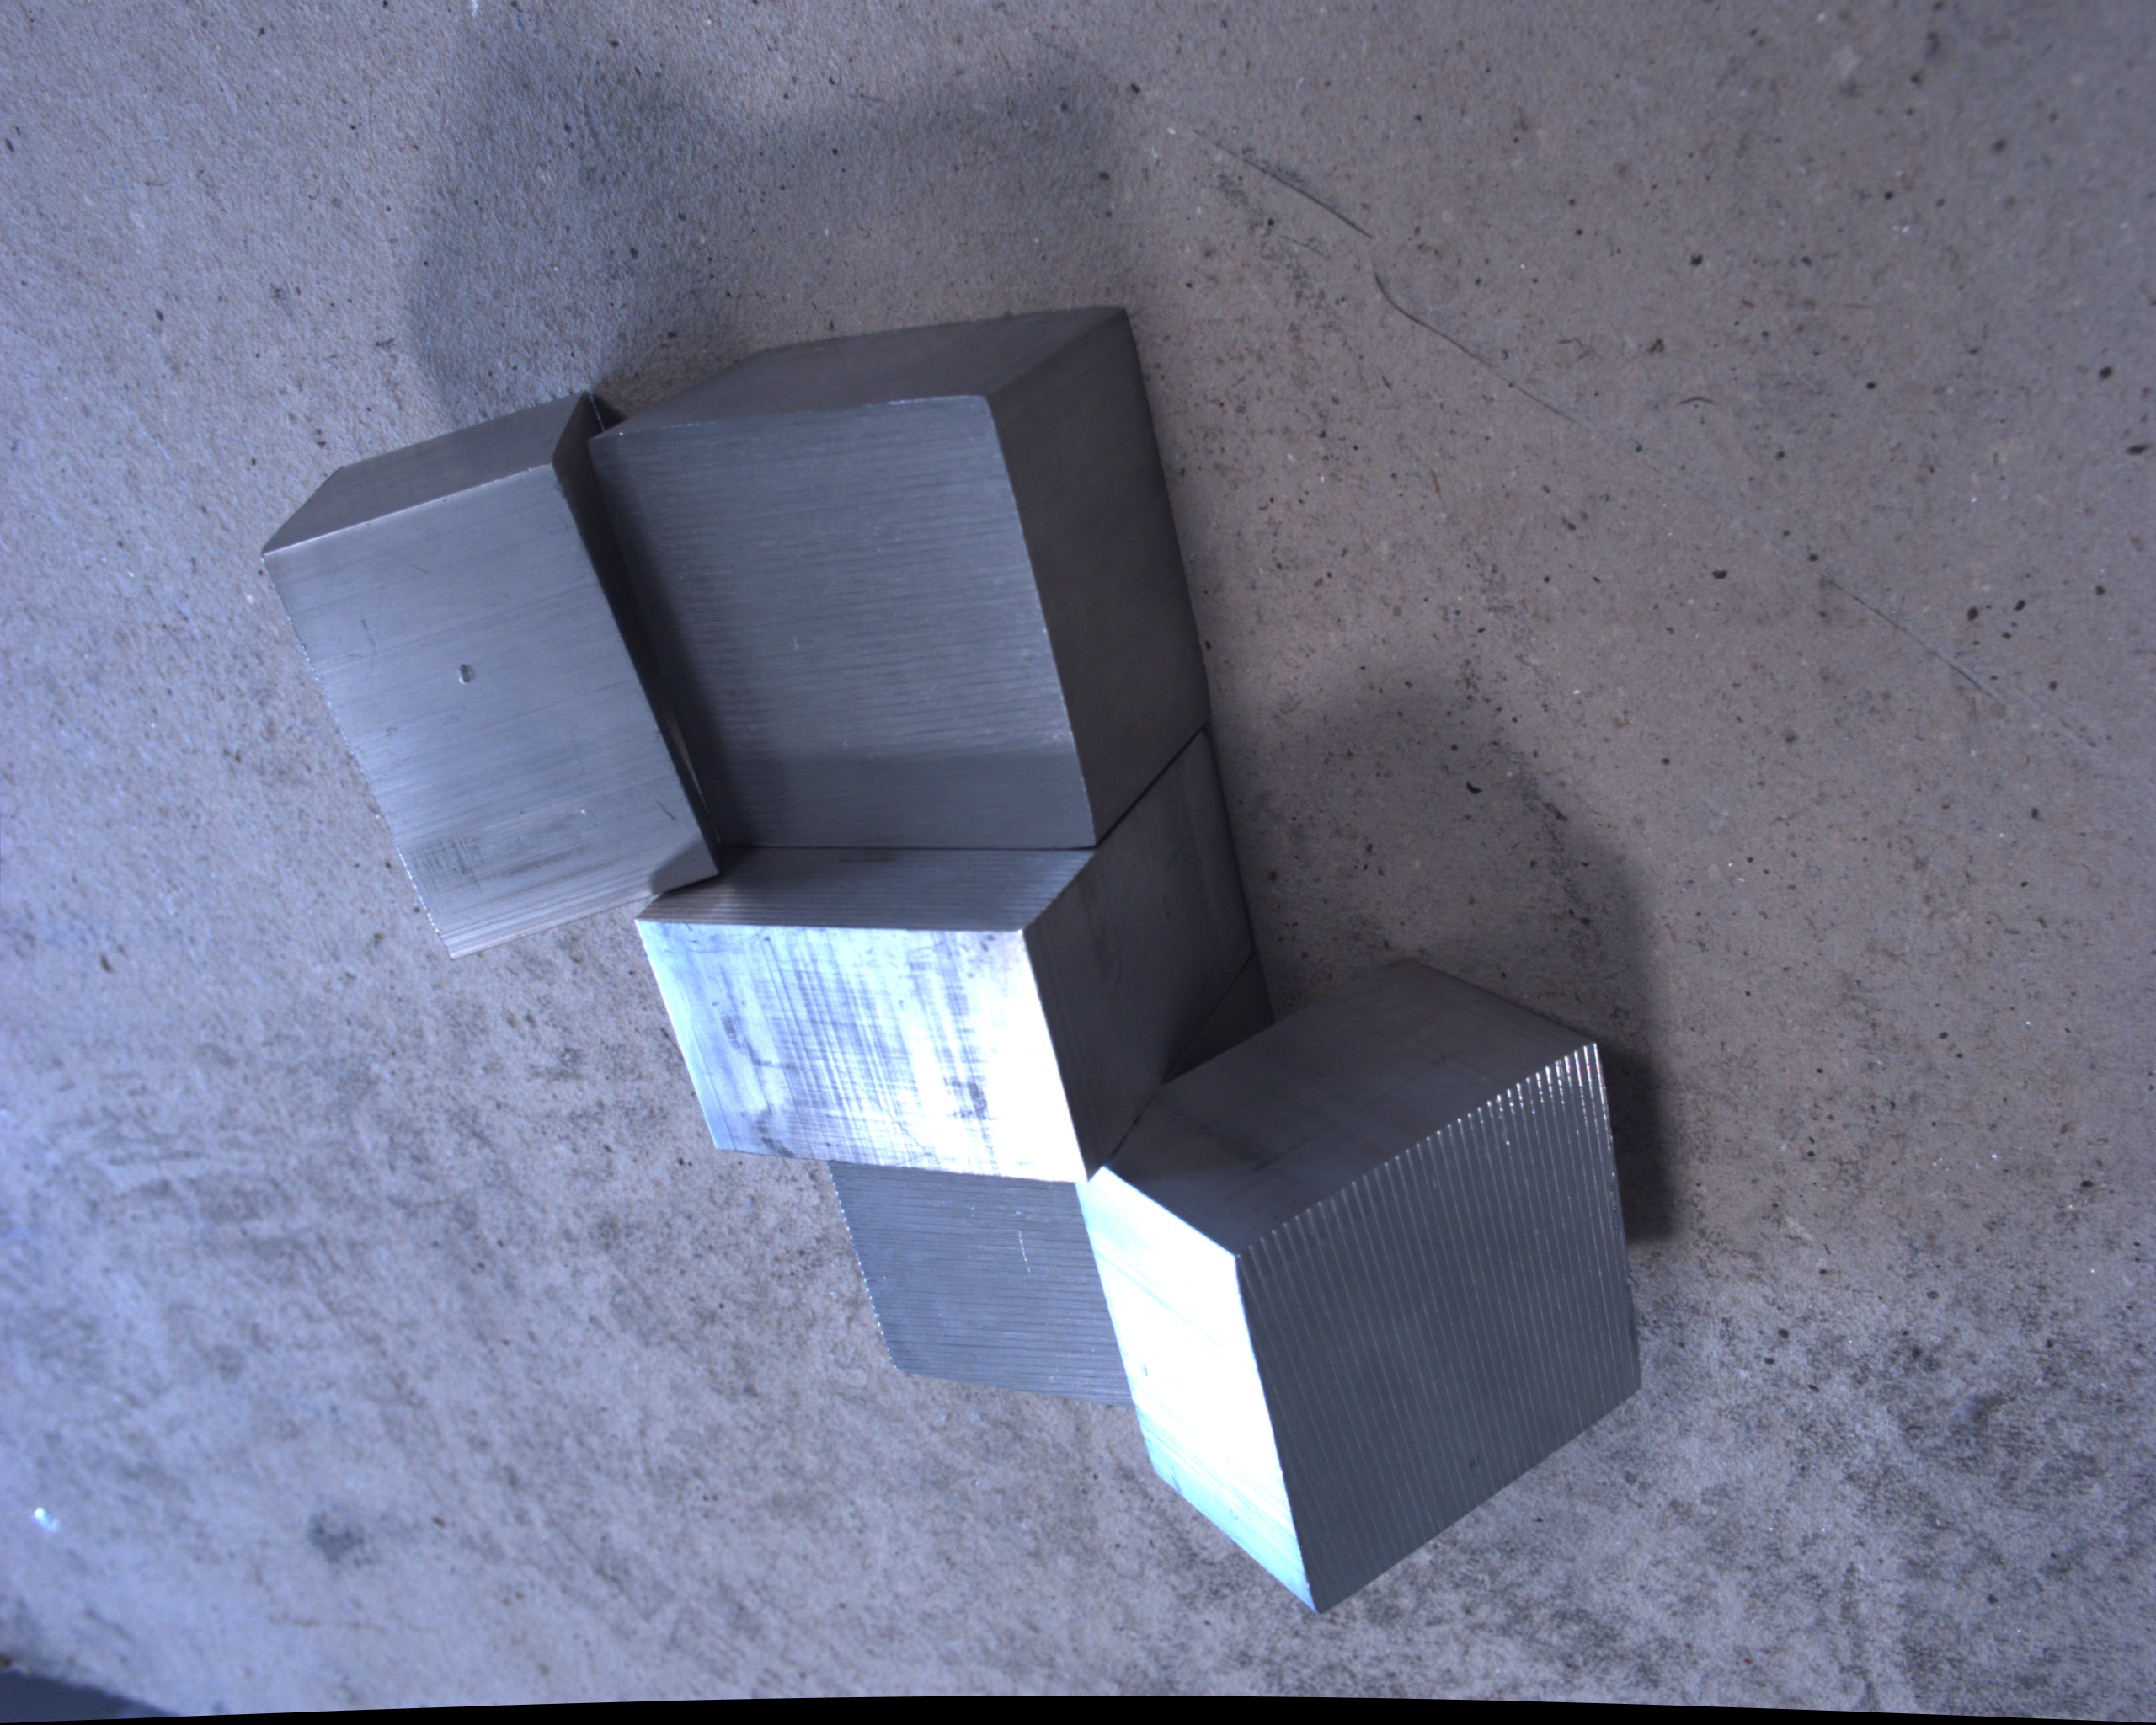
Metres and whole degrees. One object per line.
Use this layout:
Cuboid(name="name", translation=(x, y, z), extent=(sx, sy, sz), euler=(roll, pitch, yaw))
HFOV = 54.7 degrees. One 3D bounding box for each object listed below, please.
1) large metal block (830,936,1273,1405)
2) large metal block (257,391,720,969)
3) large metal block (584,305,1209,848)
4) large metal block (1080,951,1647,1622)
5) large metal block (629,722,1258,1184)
Cuboid(name="large metal block", translation=(-0.002, 0.063, 0.432), extent=(0.080, 0.050, 0.080), euler=(1, 120, 28))
Cuboid(name="large metal block", translation=(-0.105, -0.038, 0.396), extent=(0.050, 0.080, 0.080), euler=(-18, 113, -1))
Cuboid(name="large metal block", translation=(-0.030, -0.050, 0.375), extent=(0.080, 0.050, 0.080), euler=(1, 118, 28))
Cuboid(name="large metal block", translation=(0.053, 0.074, 0.382), extent=(0.050, 0.081, 0.080), euler=(26, 136, 54))
Cuboid(name="large metal block", translation=(-0.022, 0.013, 0.393), extent=(0.080, 0.080, 0.050), euler=(1, 119, 28))
